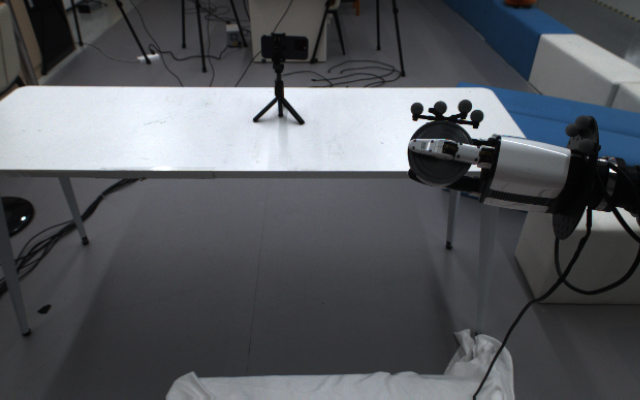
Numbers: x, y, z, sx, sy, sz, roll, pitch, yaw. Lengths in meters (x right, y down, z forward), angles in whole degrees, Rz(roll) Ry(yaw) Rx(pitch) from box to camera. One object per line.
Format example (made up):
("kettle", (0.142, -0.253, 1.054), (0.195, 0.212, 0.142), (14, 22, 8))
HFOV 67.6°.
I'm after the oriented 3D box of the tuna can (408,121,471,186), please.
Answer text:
("tuna can", (0.162, -0.065, 0.650), (0.085, 0.085, 0.034), (11, -7, 12))
